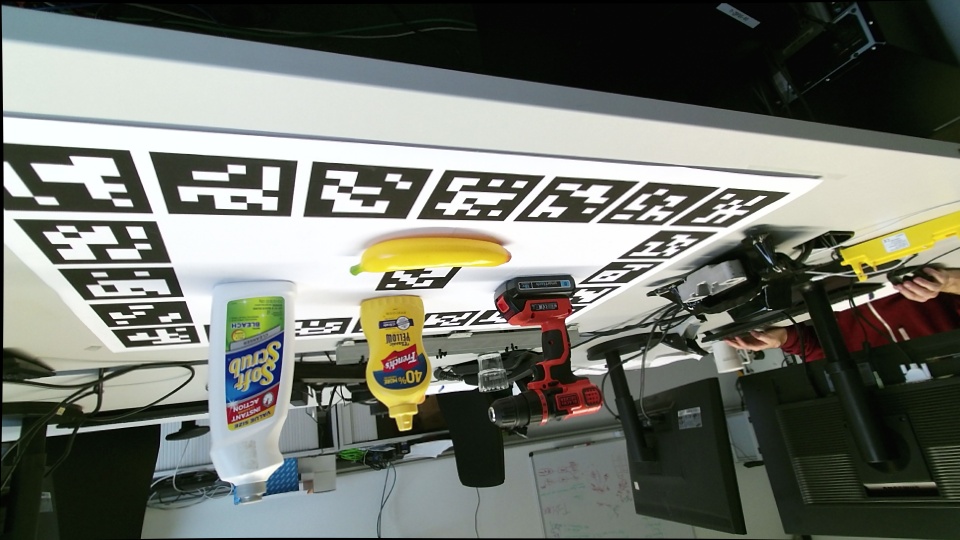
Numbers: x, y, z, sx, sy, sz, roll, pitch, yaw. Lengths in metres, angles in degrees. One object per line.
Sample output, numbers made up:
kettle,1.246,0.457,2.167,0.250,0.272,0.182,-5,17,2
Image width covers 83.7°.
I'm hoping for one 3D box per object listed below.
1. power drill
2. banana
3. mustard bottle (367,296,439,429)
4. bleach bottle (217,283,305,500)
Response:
power drill,0.085,0.141,0.810,0.185,0.186,0.057,-7,158,-19
banana,-0.045,-0.012,0.633,0.198,0.038,0.074,-6,156,-19
mustard bottle,-0.111,0.135,0.788,0.096,0.190,0.058,-3,157,-15
bleach bottle,-0.261,0.141,0.648,0.103,0.249,0.068,3,155,-30
